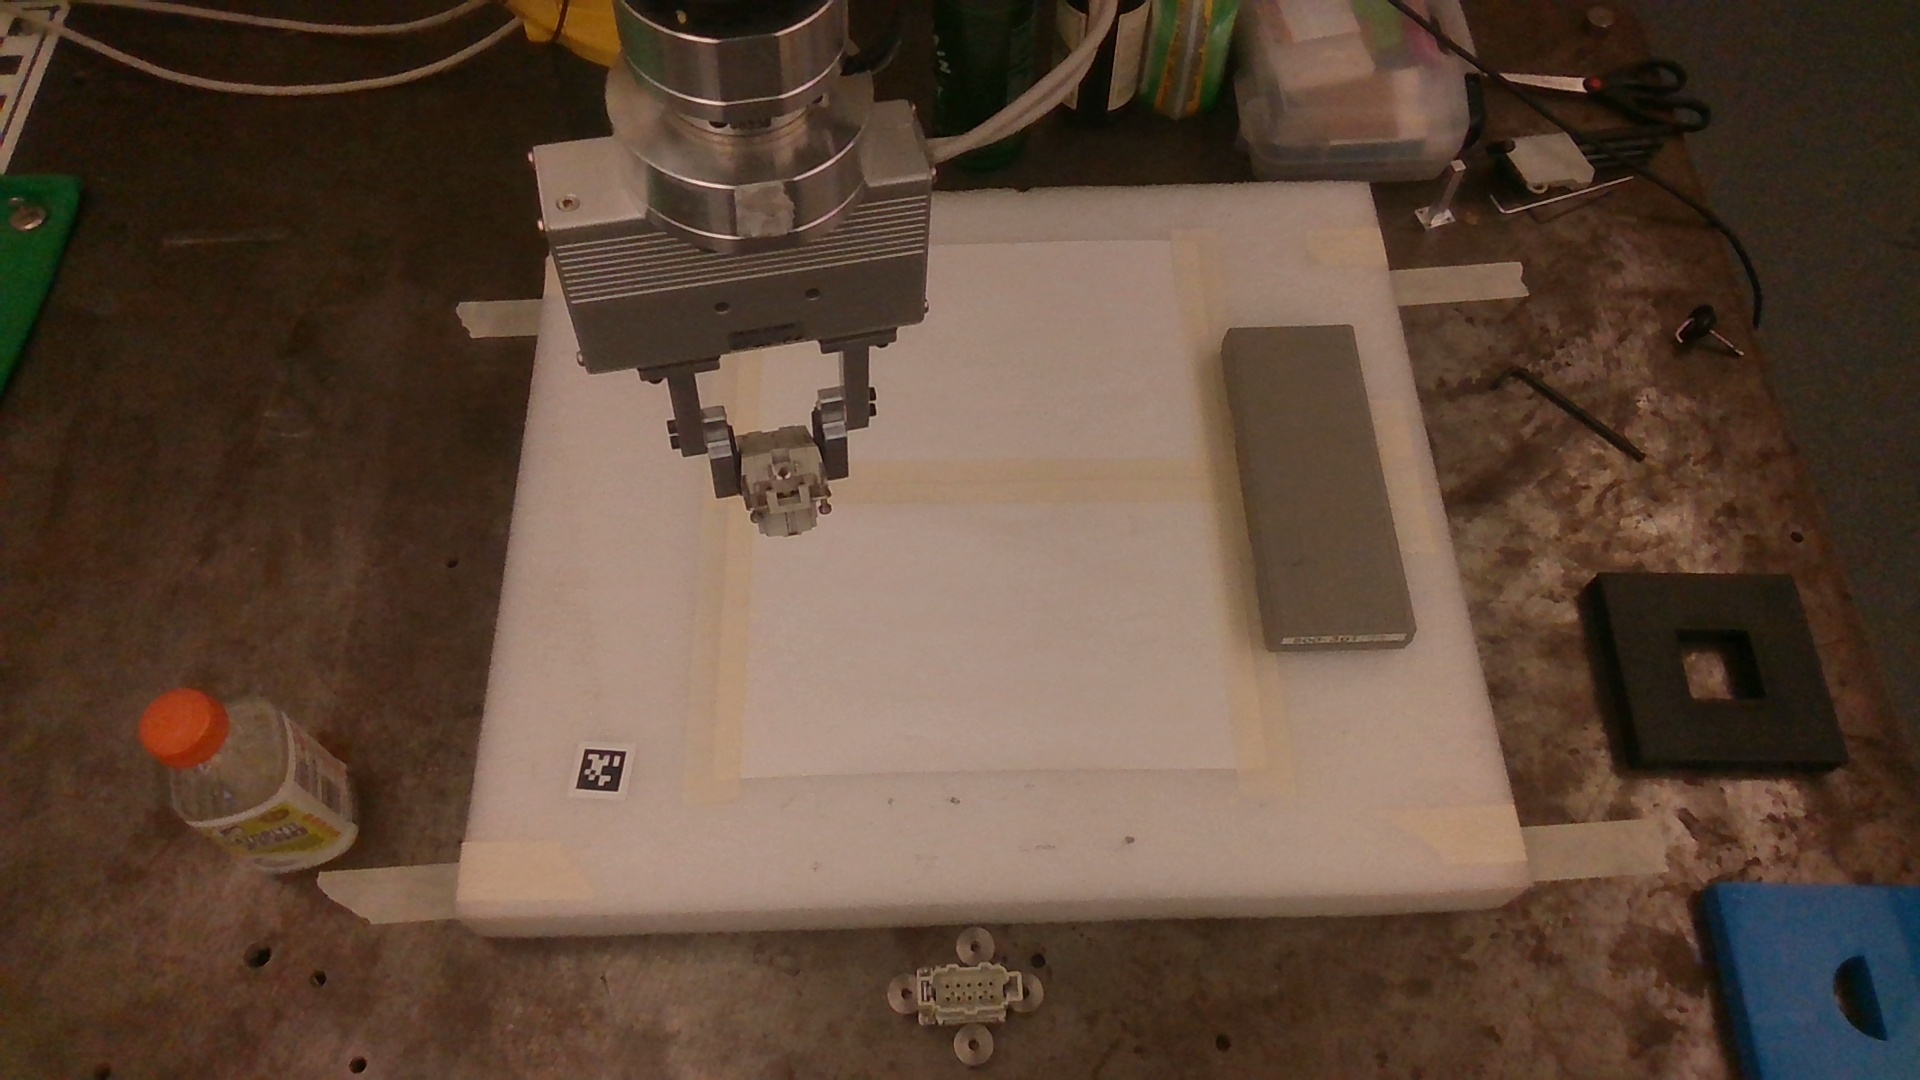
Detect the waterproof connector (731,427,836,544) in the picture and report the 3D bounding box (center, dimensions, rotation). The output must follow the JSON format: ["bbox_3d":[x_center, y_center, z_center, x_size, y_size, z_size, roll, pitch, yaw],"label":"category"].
[{"bbox_3d":[-0.073,-0.023,0.574,0.036,0.069,0.038,-10,106,-11],"label":"waterproof connector"}]
